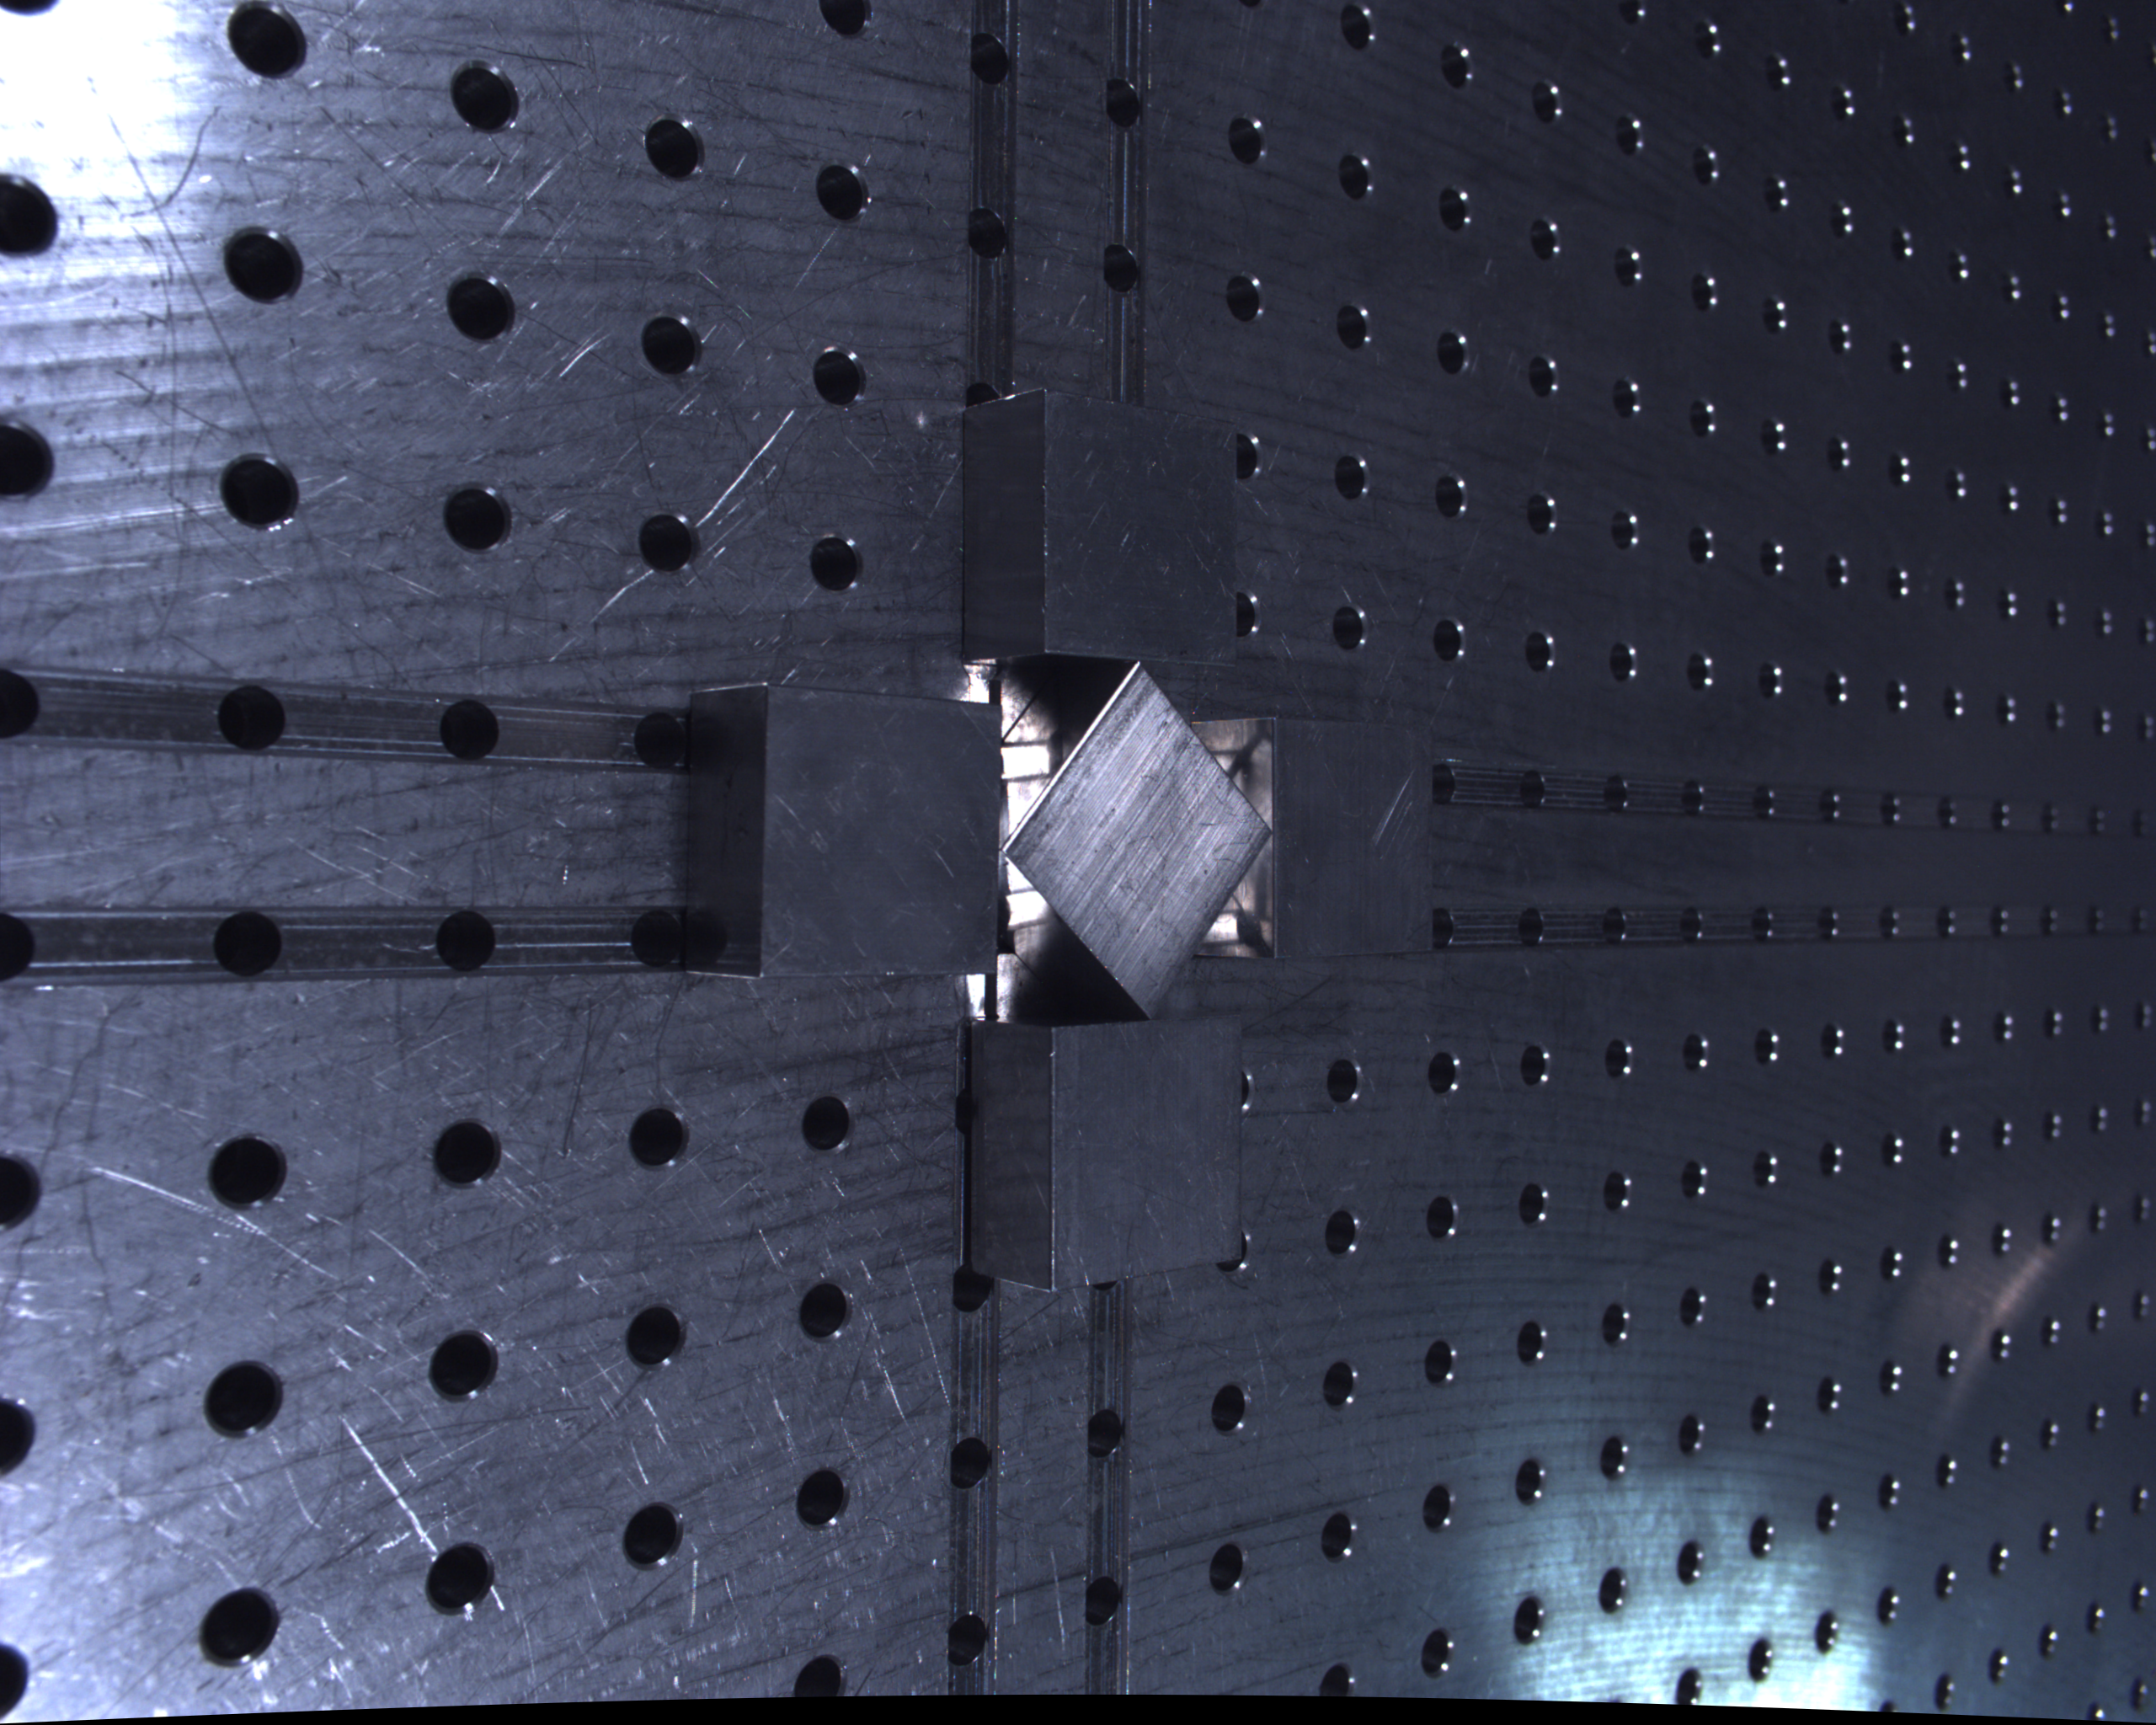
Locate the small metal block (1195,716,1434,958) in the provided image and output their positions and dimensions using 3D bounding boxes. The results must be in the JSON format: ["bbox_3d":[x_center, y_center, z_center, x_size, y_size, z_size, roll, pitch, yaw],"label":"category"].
[{"bbox_3d":[0.051,-0.005,0.454,0.050,0.025,0.050,0,90,-40],"label":"small metal block"}]

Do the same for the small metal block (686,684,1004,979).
[{"bbox_3d":[-0.041,-0.005,0.376,0.050,0.025,0.050,2,89,-40],"label":"small metal block"}]

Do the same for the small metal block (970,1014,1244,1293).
[{"bbox_3d":[0.006,0.056,0.416,0.050,0.025,0.050,0,90,-40],"label":"small metal block"}]

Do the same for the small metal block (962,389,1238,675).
[{"bbox_3d":[0.005,-0.064,0.415,0.050,0.025,0.050,-1,91,-40],"label":"small metal block"}]

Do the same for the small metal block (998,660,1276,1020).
[{"bbox_3d":[0.005,-0.004,0.415,0.050,0.025,0.050,50,61,-29],"label":"small metal block"}]
